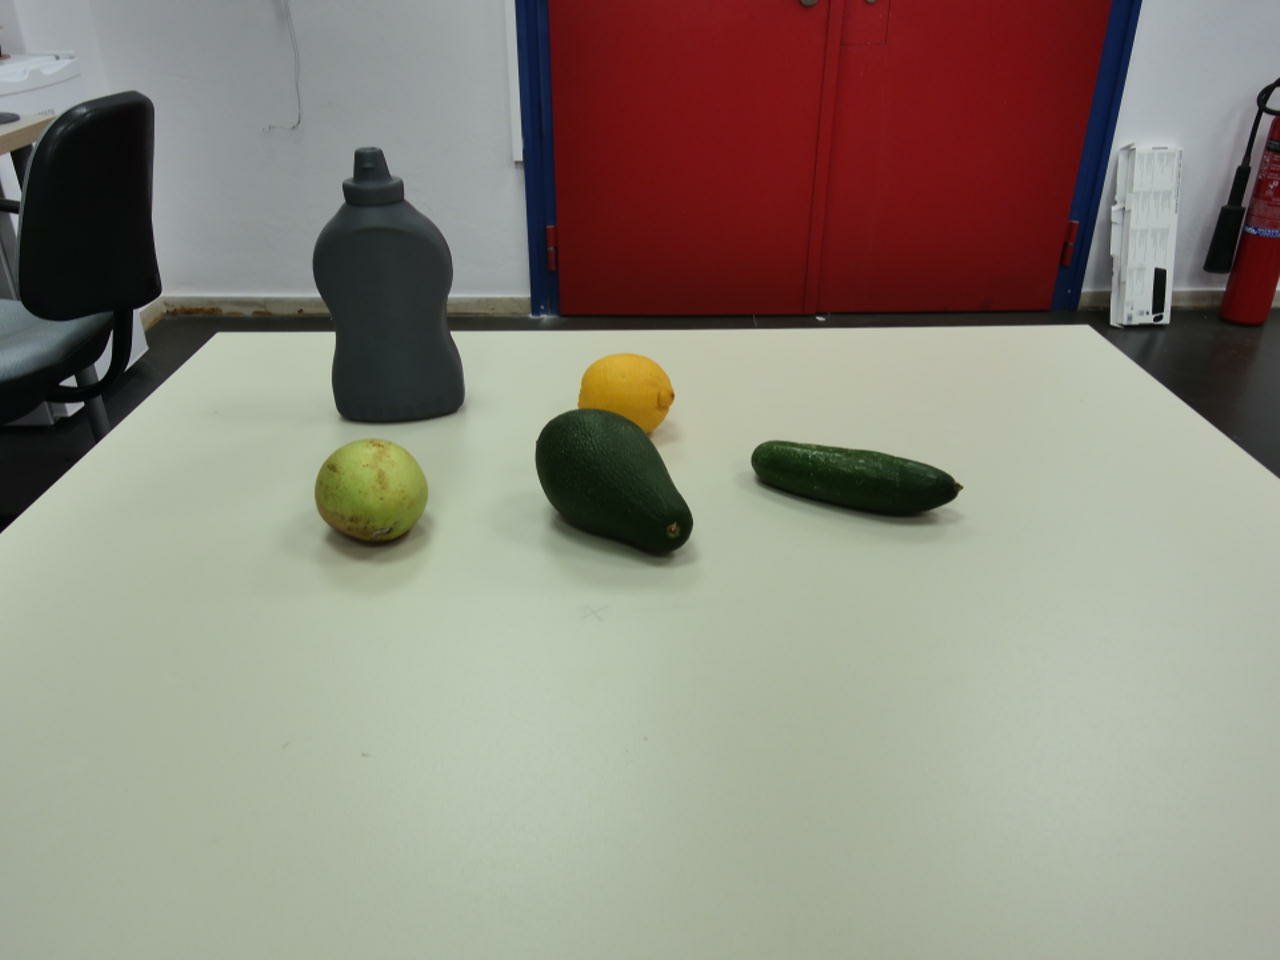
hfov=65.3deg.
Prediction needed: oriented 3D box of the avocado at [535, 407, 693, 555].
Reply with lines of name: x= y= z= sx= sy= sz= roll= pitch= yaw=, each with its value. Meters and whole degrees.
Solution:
avocado: x=-0.019 y=-0.001 z=0.586 sx=0.072 sy=0.071 sz=0.109 roll=-12 pitch=28 yaw=-21
